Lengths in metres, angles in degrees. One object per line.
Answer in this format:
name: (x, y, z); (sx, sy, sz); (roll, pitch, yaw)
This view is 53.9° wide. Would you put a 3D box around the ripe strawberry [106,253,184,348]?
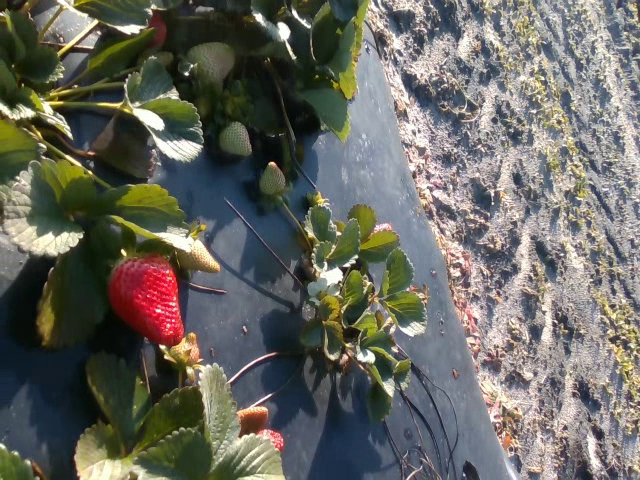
ripe strawberry: (-0.105, 0.040, 0.389); (0.056, 0.072, 0.055); (-32, -14, -8)
